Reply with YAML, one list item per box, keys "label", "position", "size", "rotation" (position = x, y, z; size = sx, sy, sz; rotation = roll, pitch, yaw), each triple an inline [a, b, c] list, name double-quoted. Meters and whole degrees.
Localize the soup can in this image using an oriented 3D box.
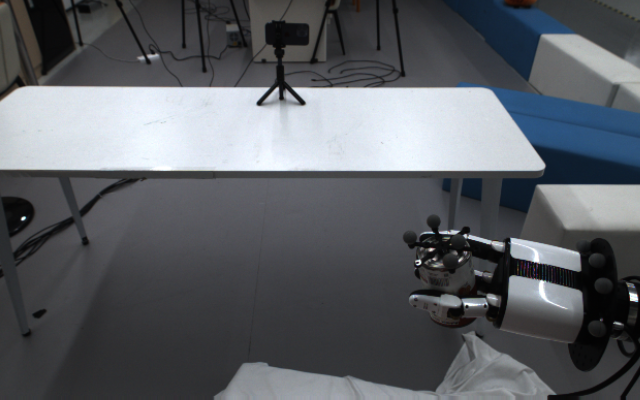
- label: "soup can"
  position: [0.164, 0.100, 0.613]
  size: [0.067, 0.101, 0.067]
  rotation: [-13, 31, 8]
